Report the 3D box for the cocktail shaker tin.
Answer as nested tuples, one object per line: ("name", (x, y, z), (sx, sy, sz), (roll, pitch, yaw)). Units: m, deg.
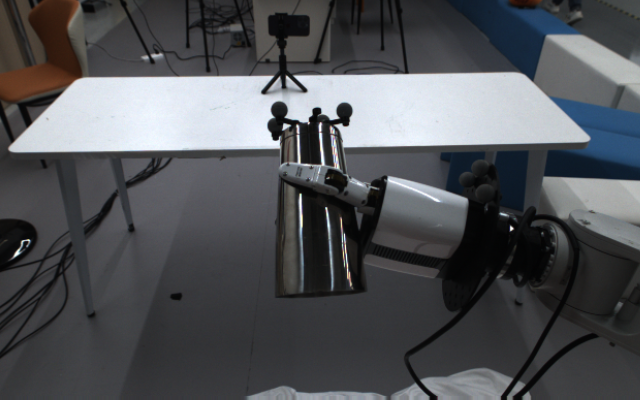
("cocktail shaker tin", (-0.003, 0.012, 0.499), (0.093, 0.093, 0.170), (-3, 76, -7))
